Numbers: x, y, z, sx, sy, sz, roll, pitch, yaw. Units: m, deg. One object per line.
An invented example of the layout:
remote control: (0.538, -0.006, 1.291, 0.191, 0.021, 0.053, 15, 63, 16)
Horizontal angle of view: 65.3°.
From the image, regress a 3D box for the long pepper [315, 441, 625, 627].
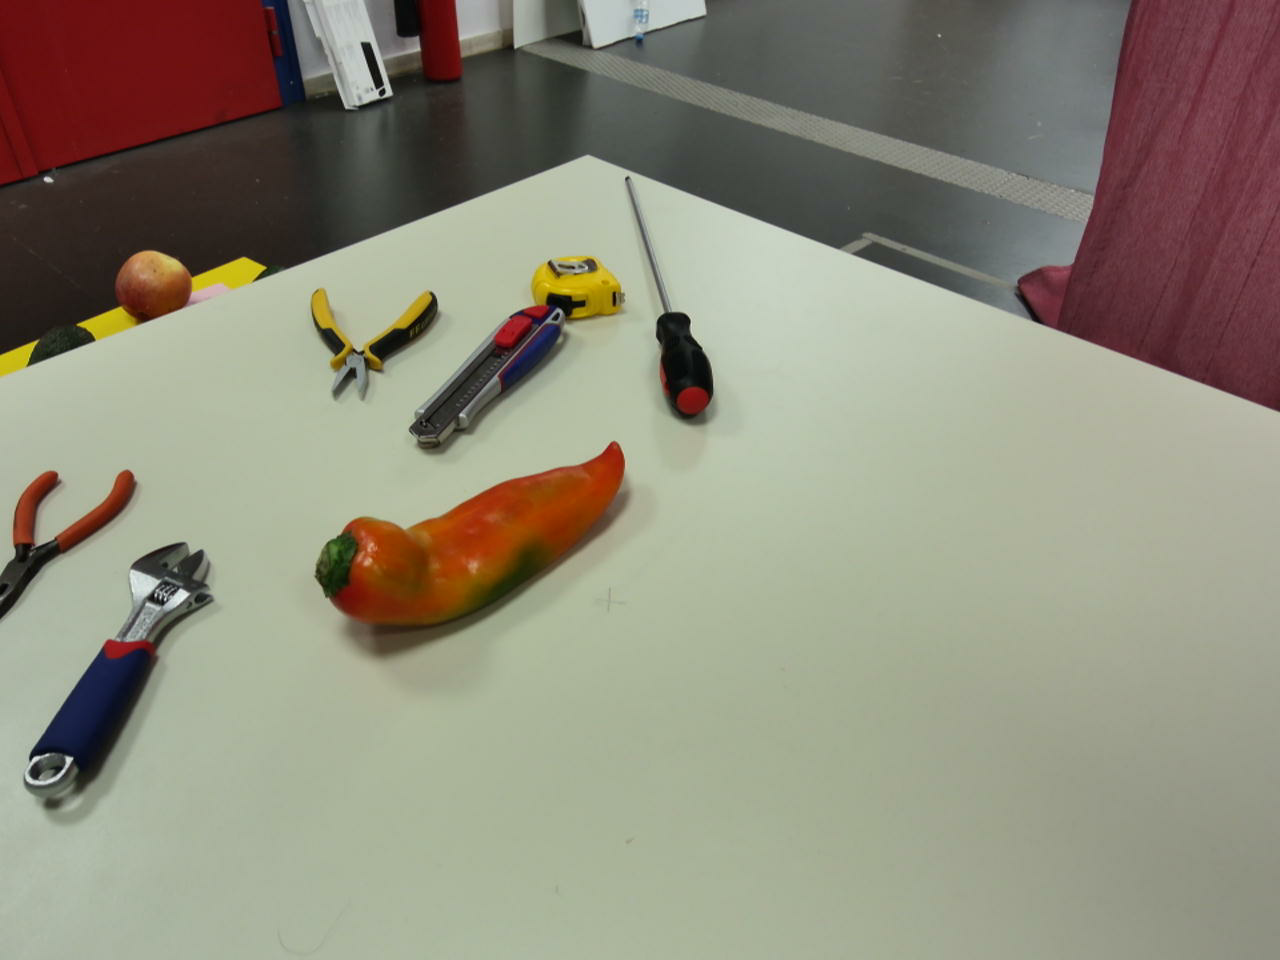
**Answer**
long pepper: (-0.080, 0.019, 0.539, 0.199, 0.065, 0.066, -29, 47, -34)
